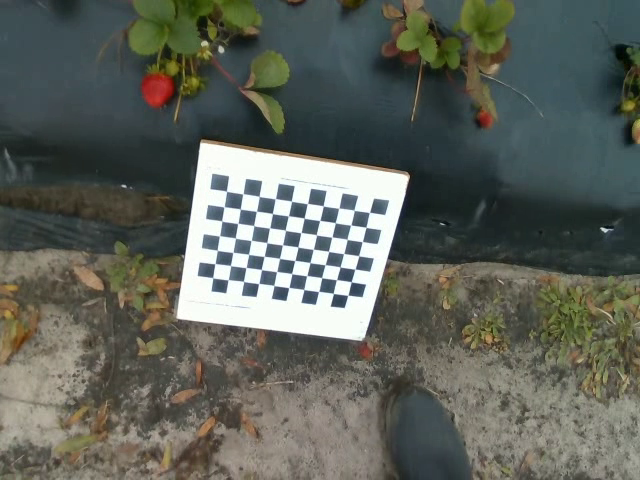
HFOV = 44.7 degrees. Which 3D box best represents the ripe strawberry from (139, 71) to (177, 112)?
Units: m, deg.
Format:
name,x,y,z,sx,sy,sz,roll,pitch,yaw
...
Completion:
name,x,y,z,sx,sy,sz,roll,pitch,yaw
ripe strawberry,-0.065,-0.059,0.305,0.018,0.017,0.014,11,-22,-16
